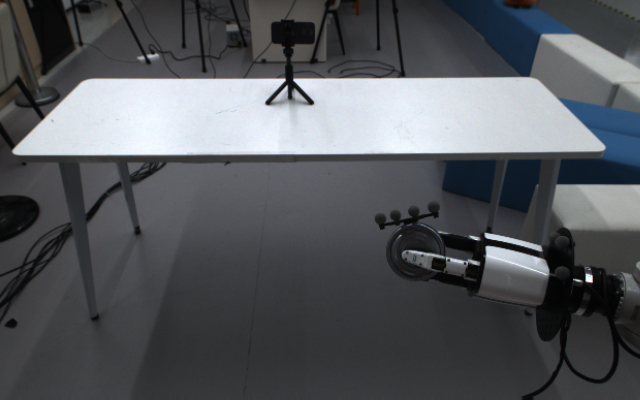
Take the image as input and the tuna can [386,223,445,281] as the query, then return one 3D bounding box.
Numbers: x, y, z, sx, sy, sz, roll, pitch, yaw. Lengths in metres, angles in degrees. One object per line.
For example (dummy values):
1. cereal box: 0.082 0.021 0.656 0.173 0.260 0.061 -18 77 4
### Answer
1. tuna can: 0.143 0.074 0.710 0.085 0.085 0.034 12 3 14
